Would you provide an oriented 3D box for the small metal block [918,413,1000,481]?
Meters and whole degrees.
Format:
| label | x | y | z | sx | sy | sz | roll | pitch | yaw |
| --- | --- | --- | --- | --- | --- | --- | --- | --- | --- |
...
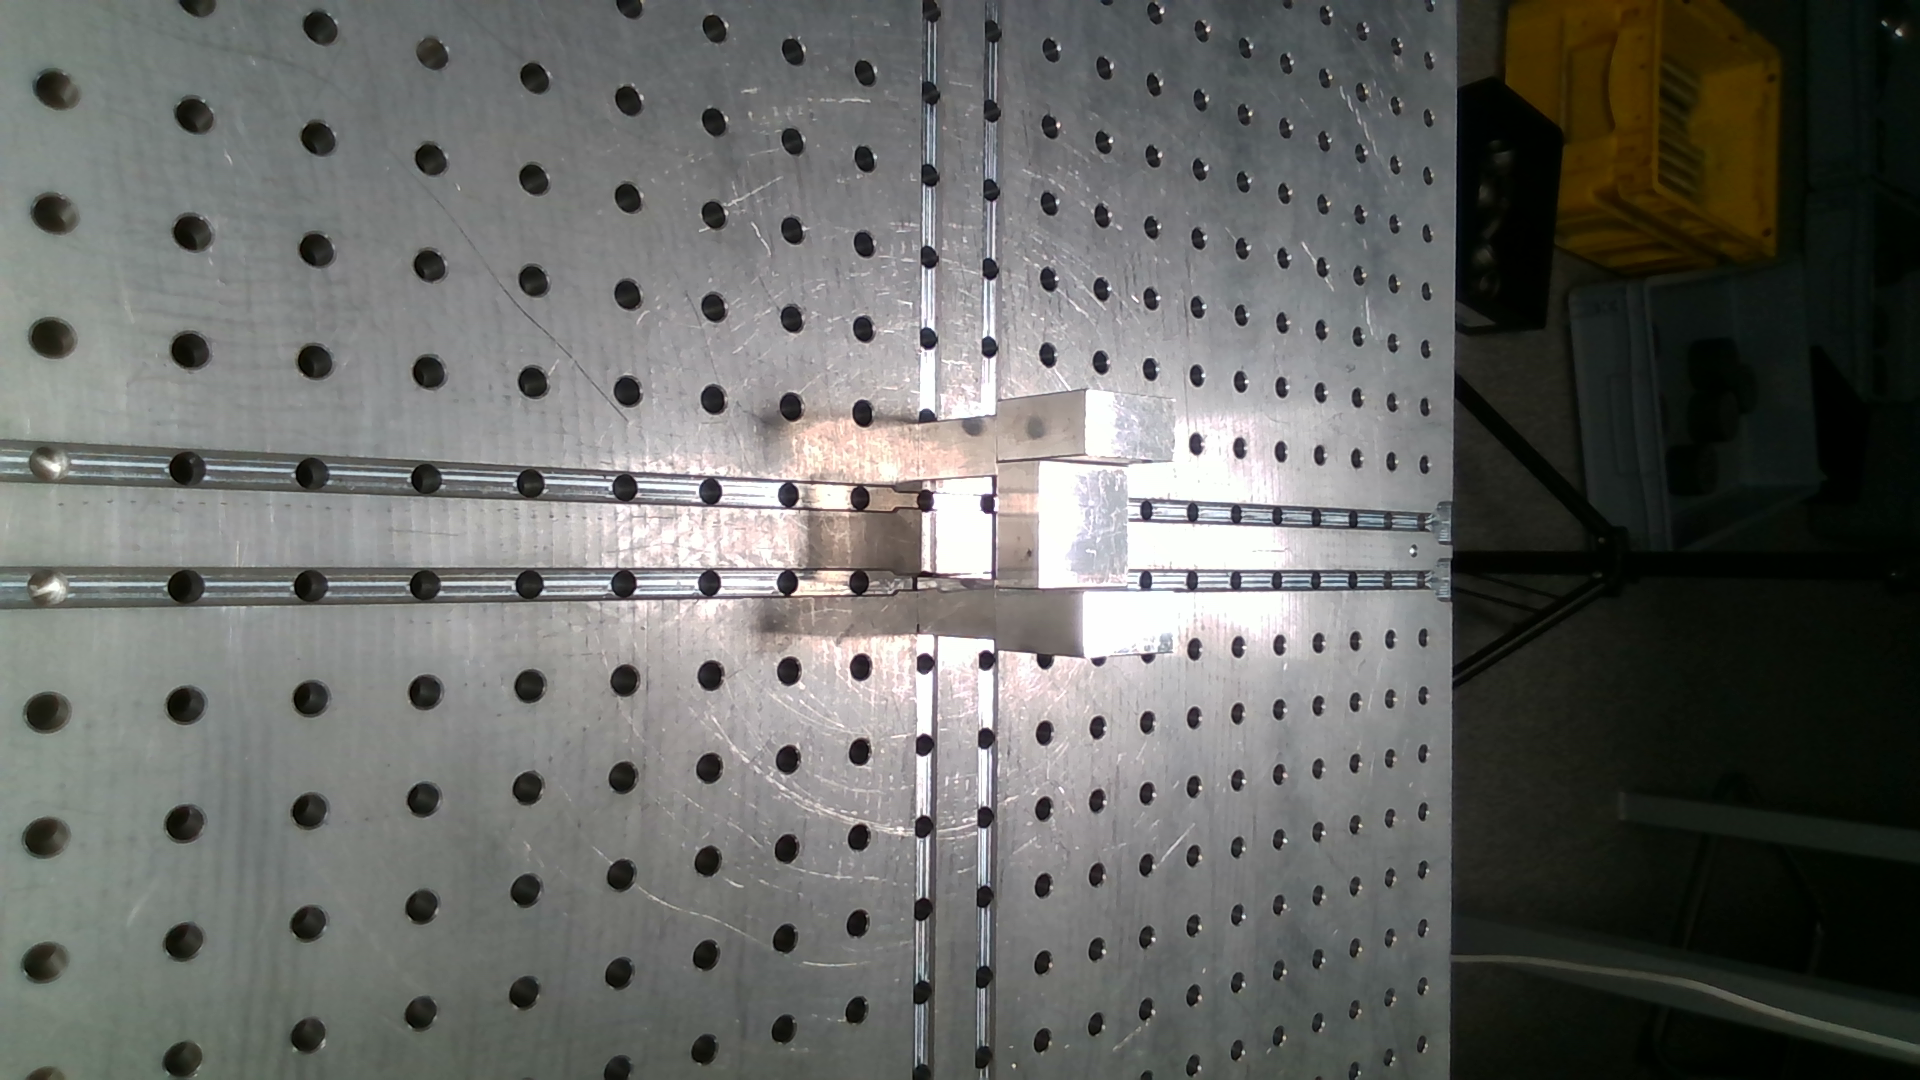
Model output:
| label | x | y | z | sx | sy | sz | roll | pitch | yaw |
| --- | --- | --- | --- | --- | --- | --- | --- | --- | --- |
| small metal block | 0.017 | -0.038 | 0.584 | 0.050 | 0.050 | 0.025 | 1 | 89 | -40 |

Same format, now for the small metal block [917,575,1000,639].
| label | x | y | z | sx | sy | sz | roll | pitch | yaw |
| --- | --- | --- | --- | --- | --- | --- | --- | --- | --- |
| small metal block | 0.017 | 0.027 | 0.584 | 0.050 | 0.050 | 0.025 | -1 | 90 | -40 |

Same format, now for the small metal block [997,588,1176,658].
| label | x | y | z | sx | sy | sz | roll | pitch | yaw |
| --- | --- | --- | --- | --- | --- | --- | --- | --- | --- |
| small metal block | 0.050 | 0.032 | 0.545 | 0.050 | 0.050 | 0.025 | 1 | 89 | -41 |

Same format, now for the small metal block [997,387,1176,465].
| label | x | y | z | sx | sy | sz | roll | pitch | yaw |
| --- | --- | --- | --- | --- | --- | --- | --- | --- | --- |
| small metal block | 0.050 | -0.044 | 0.545 | 0.050 | 0.050 | 0.025 | 1 | 89 | -41 |

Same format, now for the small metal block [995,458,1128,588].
| label | x | y | z | sx | sy | sz | roll | pitch | yaw |
| --- | --- | --- | --- | --- | --- | --- | --- | --- | --- |
| small metal block | 0.041 | -0.006 | 0.557 | 0.050 | 0.025 | 0.050 | 1 | 89 | -40 |
